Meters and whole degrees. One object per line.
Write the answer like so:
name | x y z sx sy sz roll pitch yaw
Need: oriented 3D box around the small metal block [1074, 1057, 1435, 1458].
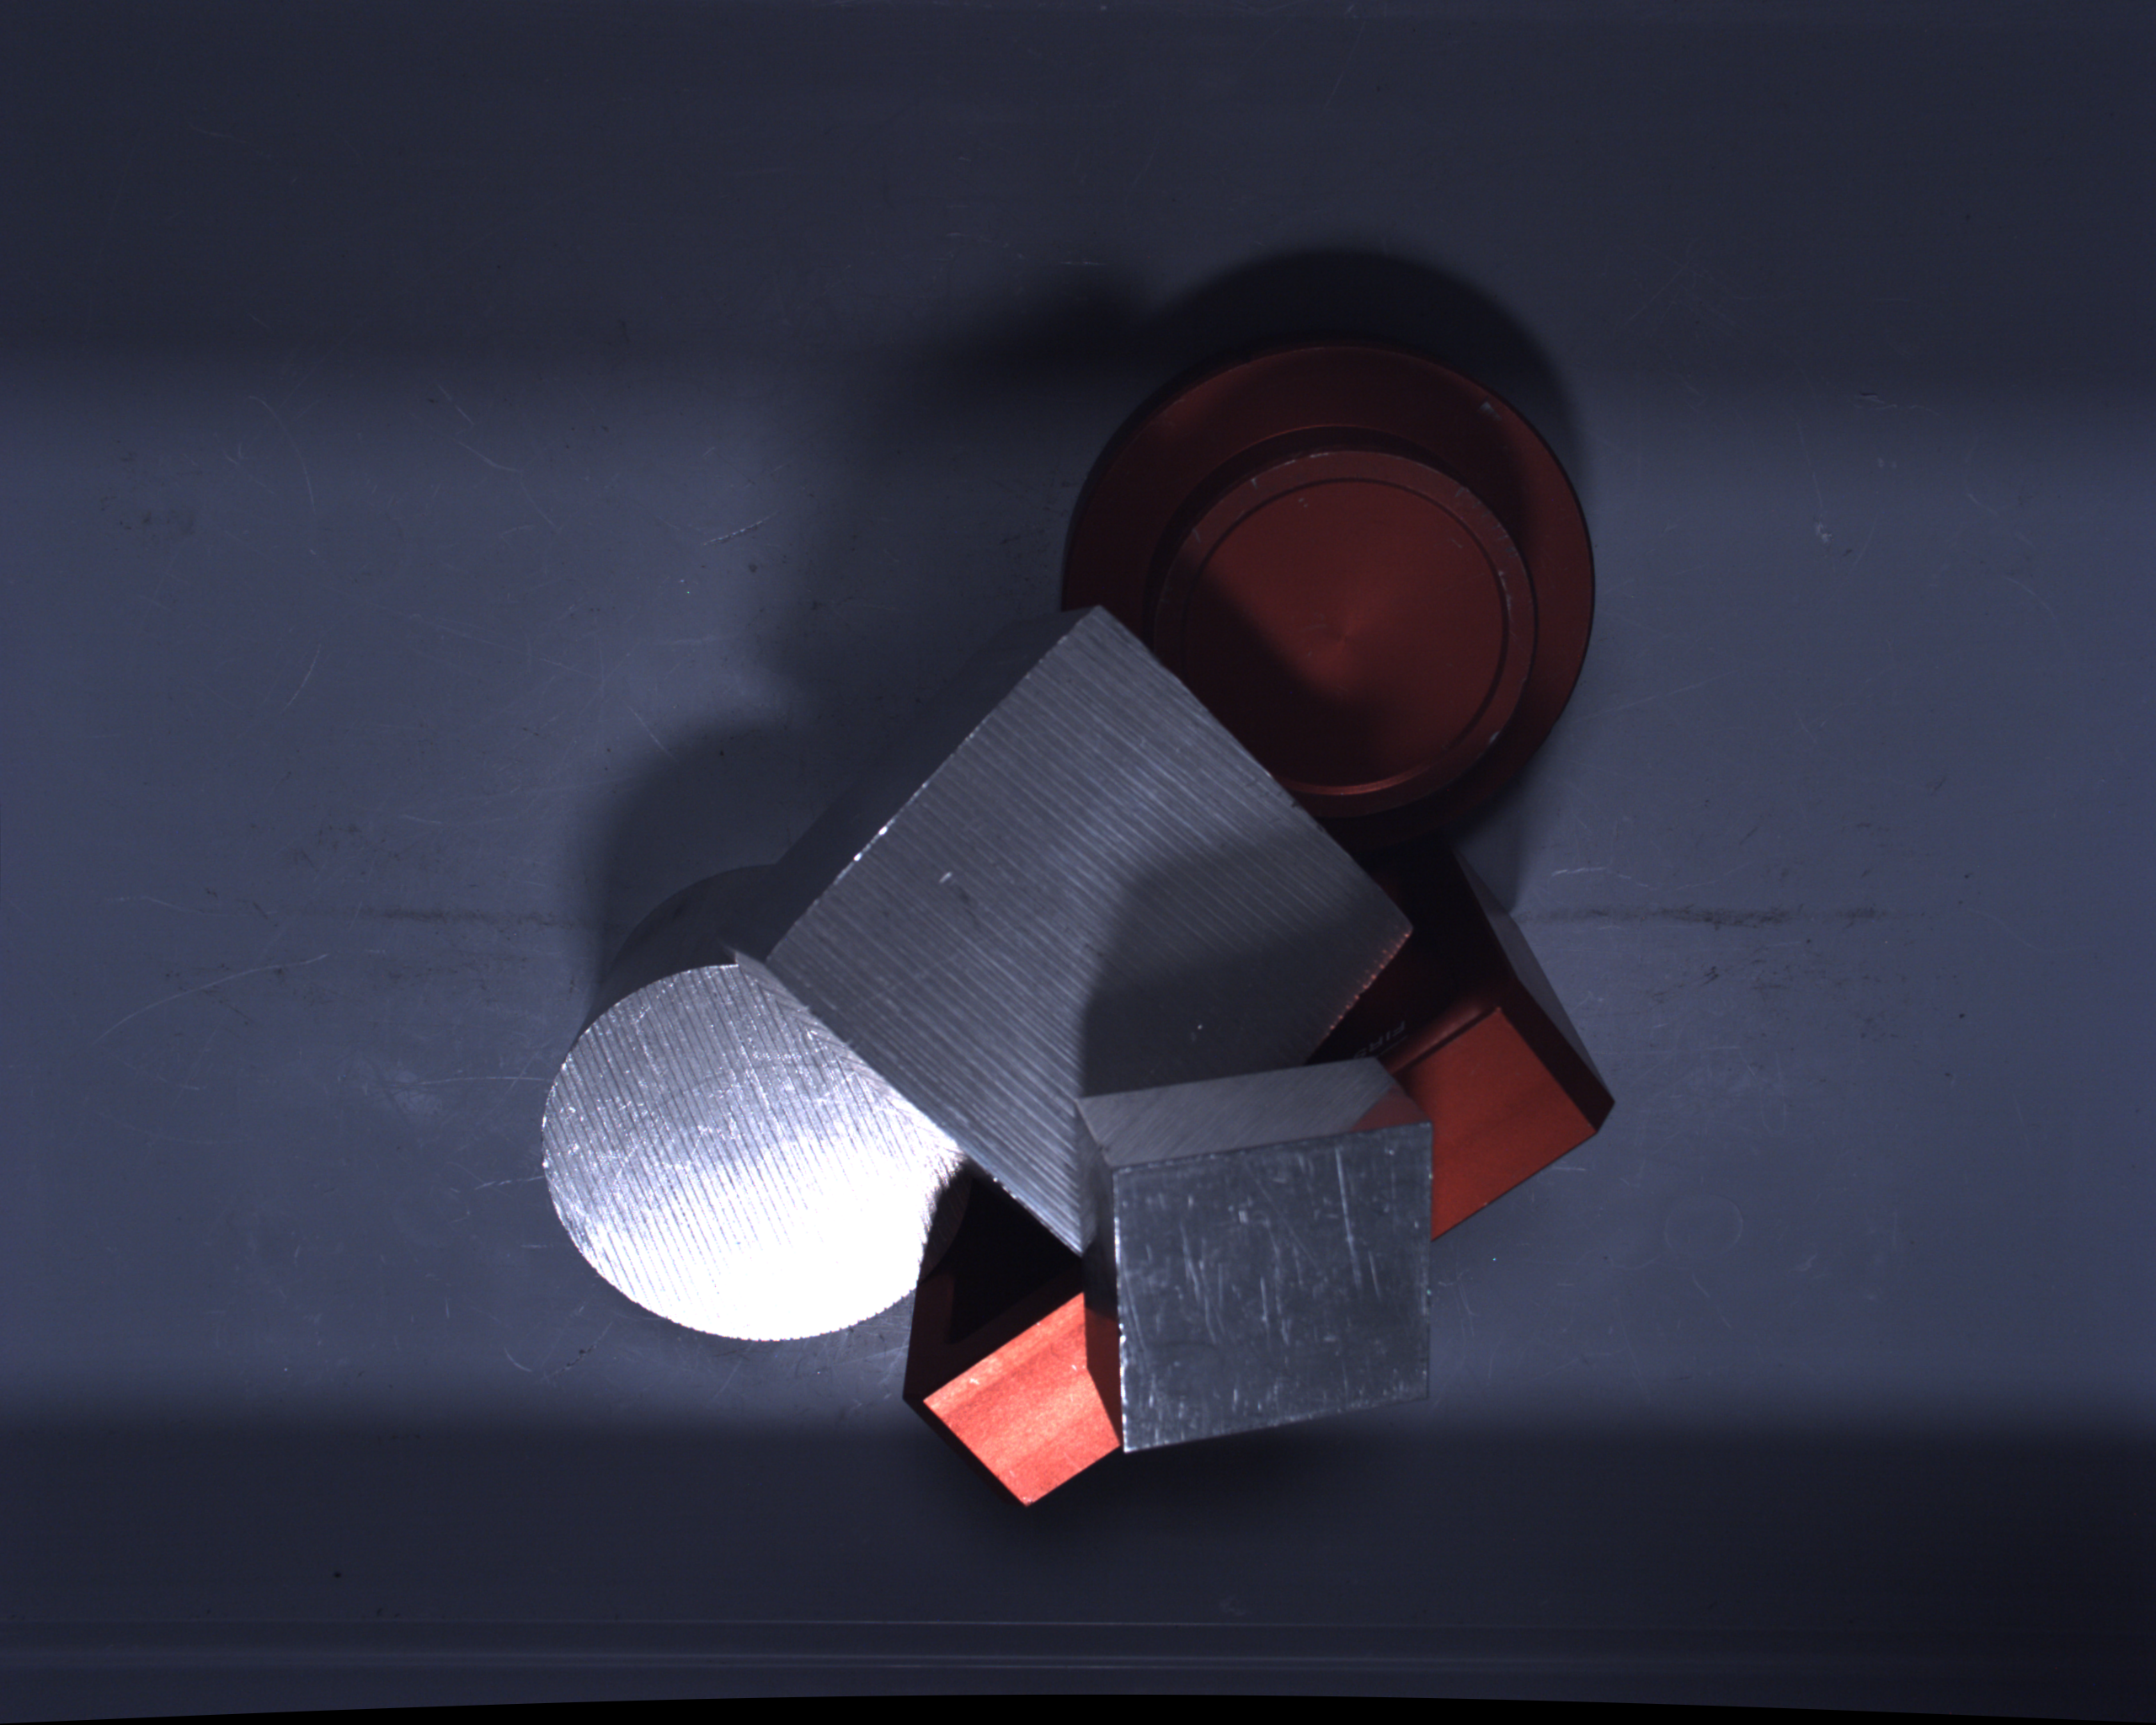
small metal block | 0.028 0.062 0.331 0.050 0.025 0.050 -7 110 -12

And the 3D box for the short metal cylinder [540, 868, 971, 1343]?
short metal cylinder | -0.060 0.047 0.412 0.081 0.050 0.079 0 110 -1

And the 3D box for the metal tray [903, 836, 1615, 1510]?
metal tray | 0.029 0.054 0.395 0.130 0.090 0.030 -36 106 11

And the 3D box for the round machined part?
round machined part | 0.046 -0.046 0.384 0.099 0.042 0.097 0 110 -1

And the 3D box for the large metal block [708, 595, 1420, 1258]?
large metal block | -0.003 0.012 0.363 0.080 0.050 0.080 45 79 -15
